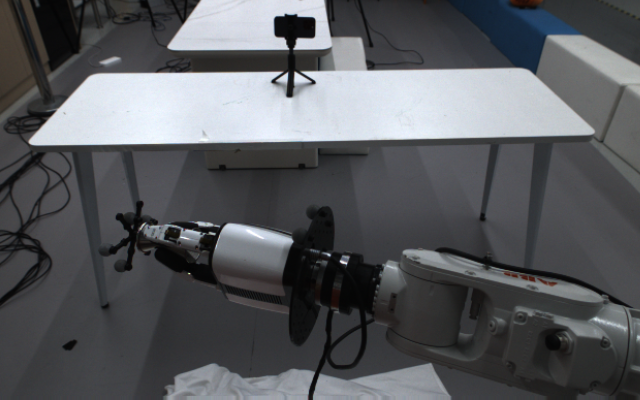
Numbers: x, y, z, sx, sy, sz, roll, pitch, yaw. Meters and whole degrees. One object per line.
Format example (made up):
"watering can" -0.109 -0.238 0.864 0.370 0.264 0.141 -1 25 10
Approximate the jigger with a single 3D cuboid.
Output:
"jigger" -0.178 0.047 0.594 0.071 0.043 0.043 7 35 14
